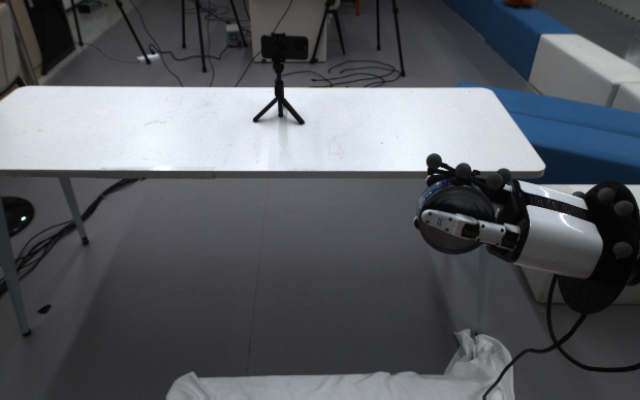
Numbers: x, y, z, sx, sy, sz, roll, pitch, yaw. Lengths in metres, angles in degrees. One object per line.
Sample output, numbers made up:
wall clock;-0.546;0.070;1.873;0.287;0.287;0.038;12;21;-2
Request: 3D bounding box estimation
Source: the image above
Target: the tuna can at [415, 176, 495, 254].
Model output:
tuna can;0.159;0.015;0.569;0.085;0.085;0.034;4;19;3
